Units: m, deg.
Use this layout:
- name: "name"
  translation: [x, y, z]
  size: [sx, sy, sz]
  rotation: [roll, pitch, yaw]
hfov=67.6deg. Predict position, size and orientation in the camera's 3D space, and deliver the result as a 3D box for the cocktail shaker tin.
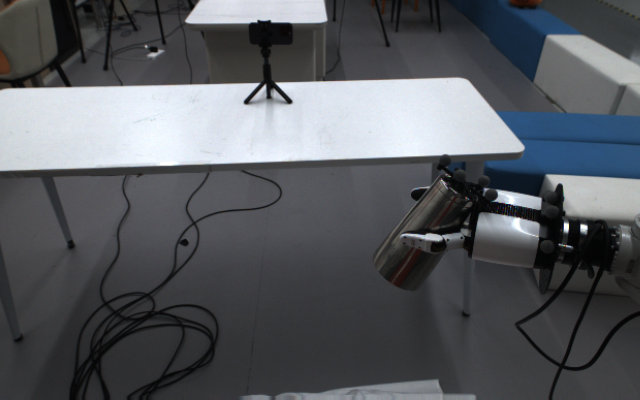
- name: "cocktail shaker tin"
  translation: [0.163, 0.043, 0.739]
  size: [0.093, 0.170, 0.093]
  rotation: [25, 28, -15]
